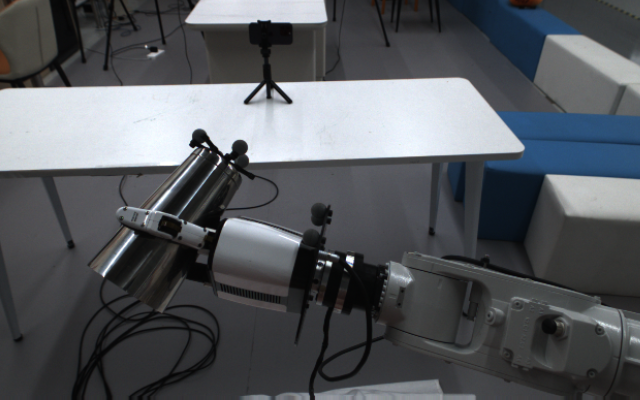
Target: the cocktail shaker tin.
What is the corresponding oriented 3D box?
[{"bbox_3d":[-0.161,0.023,0.535,0.093,0.093,0.170,22,67,26],"label":"cocktail shaker tin"}]
